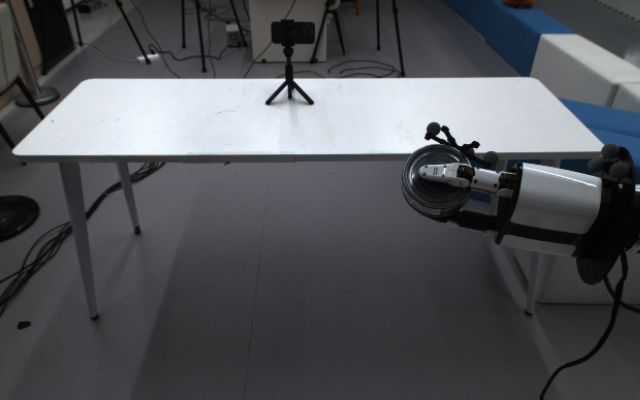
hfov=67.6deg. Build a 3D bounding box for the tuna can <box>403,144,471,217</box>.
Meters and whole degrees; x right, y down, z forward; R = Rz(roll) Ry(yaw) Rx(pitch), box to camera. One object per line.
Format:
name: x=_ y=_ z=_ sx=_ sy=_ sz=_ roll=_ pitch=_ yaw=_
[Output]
tuna can: x=0.145 y=-0.027 z=0.593 sx=0.085 sy=0.034 sz=0.085 roll=-4 pitch=69 yaw=10
